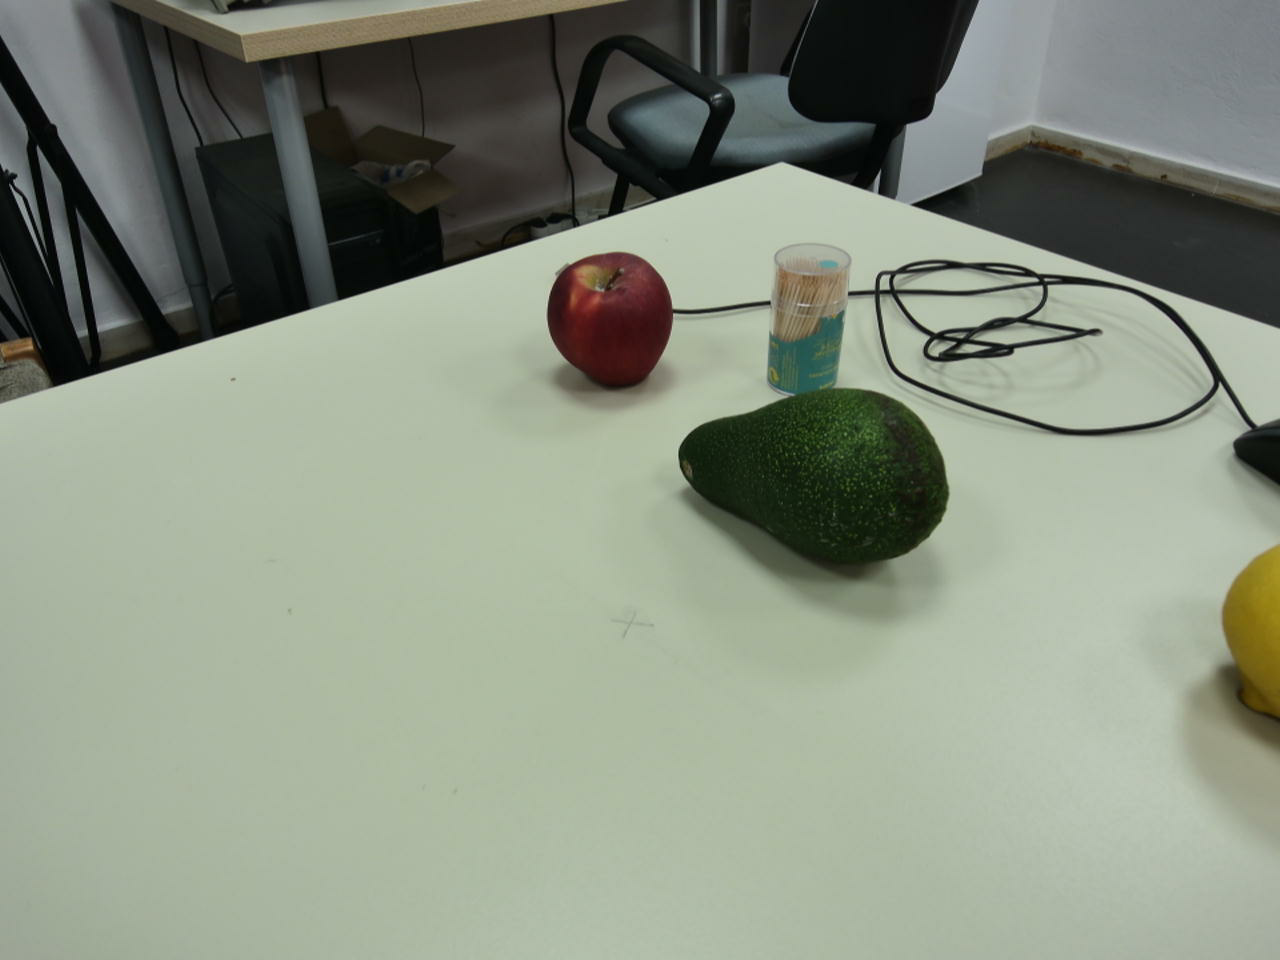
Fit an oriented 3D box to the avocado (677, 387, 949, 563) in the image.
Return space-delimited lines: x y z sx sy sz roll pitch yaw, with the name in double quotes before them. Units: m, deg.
"avocado" 0.077 -0.009 0.429 0.074 0.076 0.123 -20 39 -25
